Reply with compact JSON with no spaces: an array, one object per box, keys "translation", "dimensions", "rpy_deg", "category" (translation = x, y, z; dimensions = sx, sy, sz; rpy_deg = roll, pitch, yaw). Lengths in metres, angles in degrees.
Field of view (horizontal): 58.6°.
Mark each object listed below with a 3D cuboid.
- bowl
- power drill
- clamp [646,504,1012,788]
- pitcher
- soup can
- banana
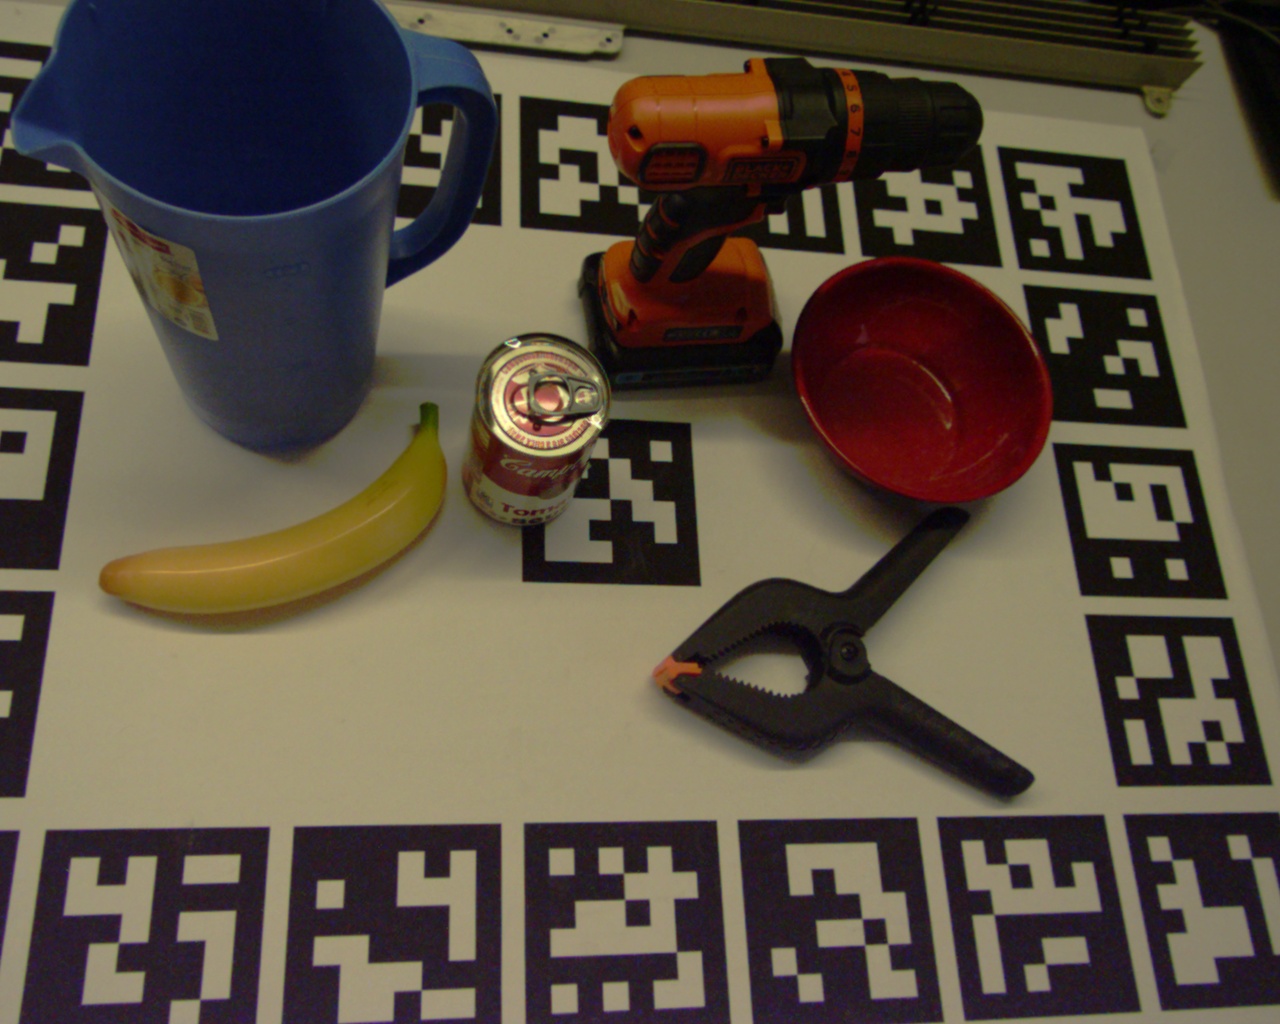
[{"translation":[0.155,-0.072,0.707],"dimensions":[0.161,0.055,0.162],"rpy_deg":[3,71,-10],"category":"bowl"},{"translation":[0.063,-0.156,0.628],"dimensions":[0.183,0.187,0.057],"rpy_deg":[-3,72,-14],"category":"power drill"},{"translation":[0.104,0.077,0.645],"dimensions":[0.201,0.037,0.166],"rpy_deg":[-1,75,-12],"category":"clamp"},{"translation":[-0.166,-0.131,0.563],"dimensions":[0.187,0.243,0.134],"rpy_deg":[-23,74,-19],"category":"pitcher"},{"translation":[-0.060,-0.046,0.631],"dimensions":[0.067,0.102,0.068],"rpy_deg":[5,61,-10],"category":"soup can"},{"translation":[-0.185,0.009,0.621],"dimensions":[0.196,0.039,0.075],"rpy_deg":[-24,69,-20],"category":"banana"}]
